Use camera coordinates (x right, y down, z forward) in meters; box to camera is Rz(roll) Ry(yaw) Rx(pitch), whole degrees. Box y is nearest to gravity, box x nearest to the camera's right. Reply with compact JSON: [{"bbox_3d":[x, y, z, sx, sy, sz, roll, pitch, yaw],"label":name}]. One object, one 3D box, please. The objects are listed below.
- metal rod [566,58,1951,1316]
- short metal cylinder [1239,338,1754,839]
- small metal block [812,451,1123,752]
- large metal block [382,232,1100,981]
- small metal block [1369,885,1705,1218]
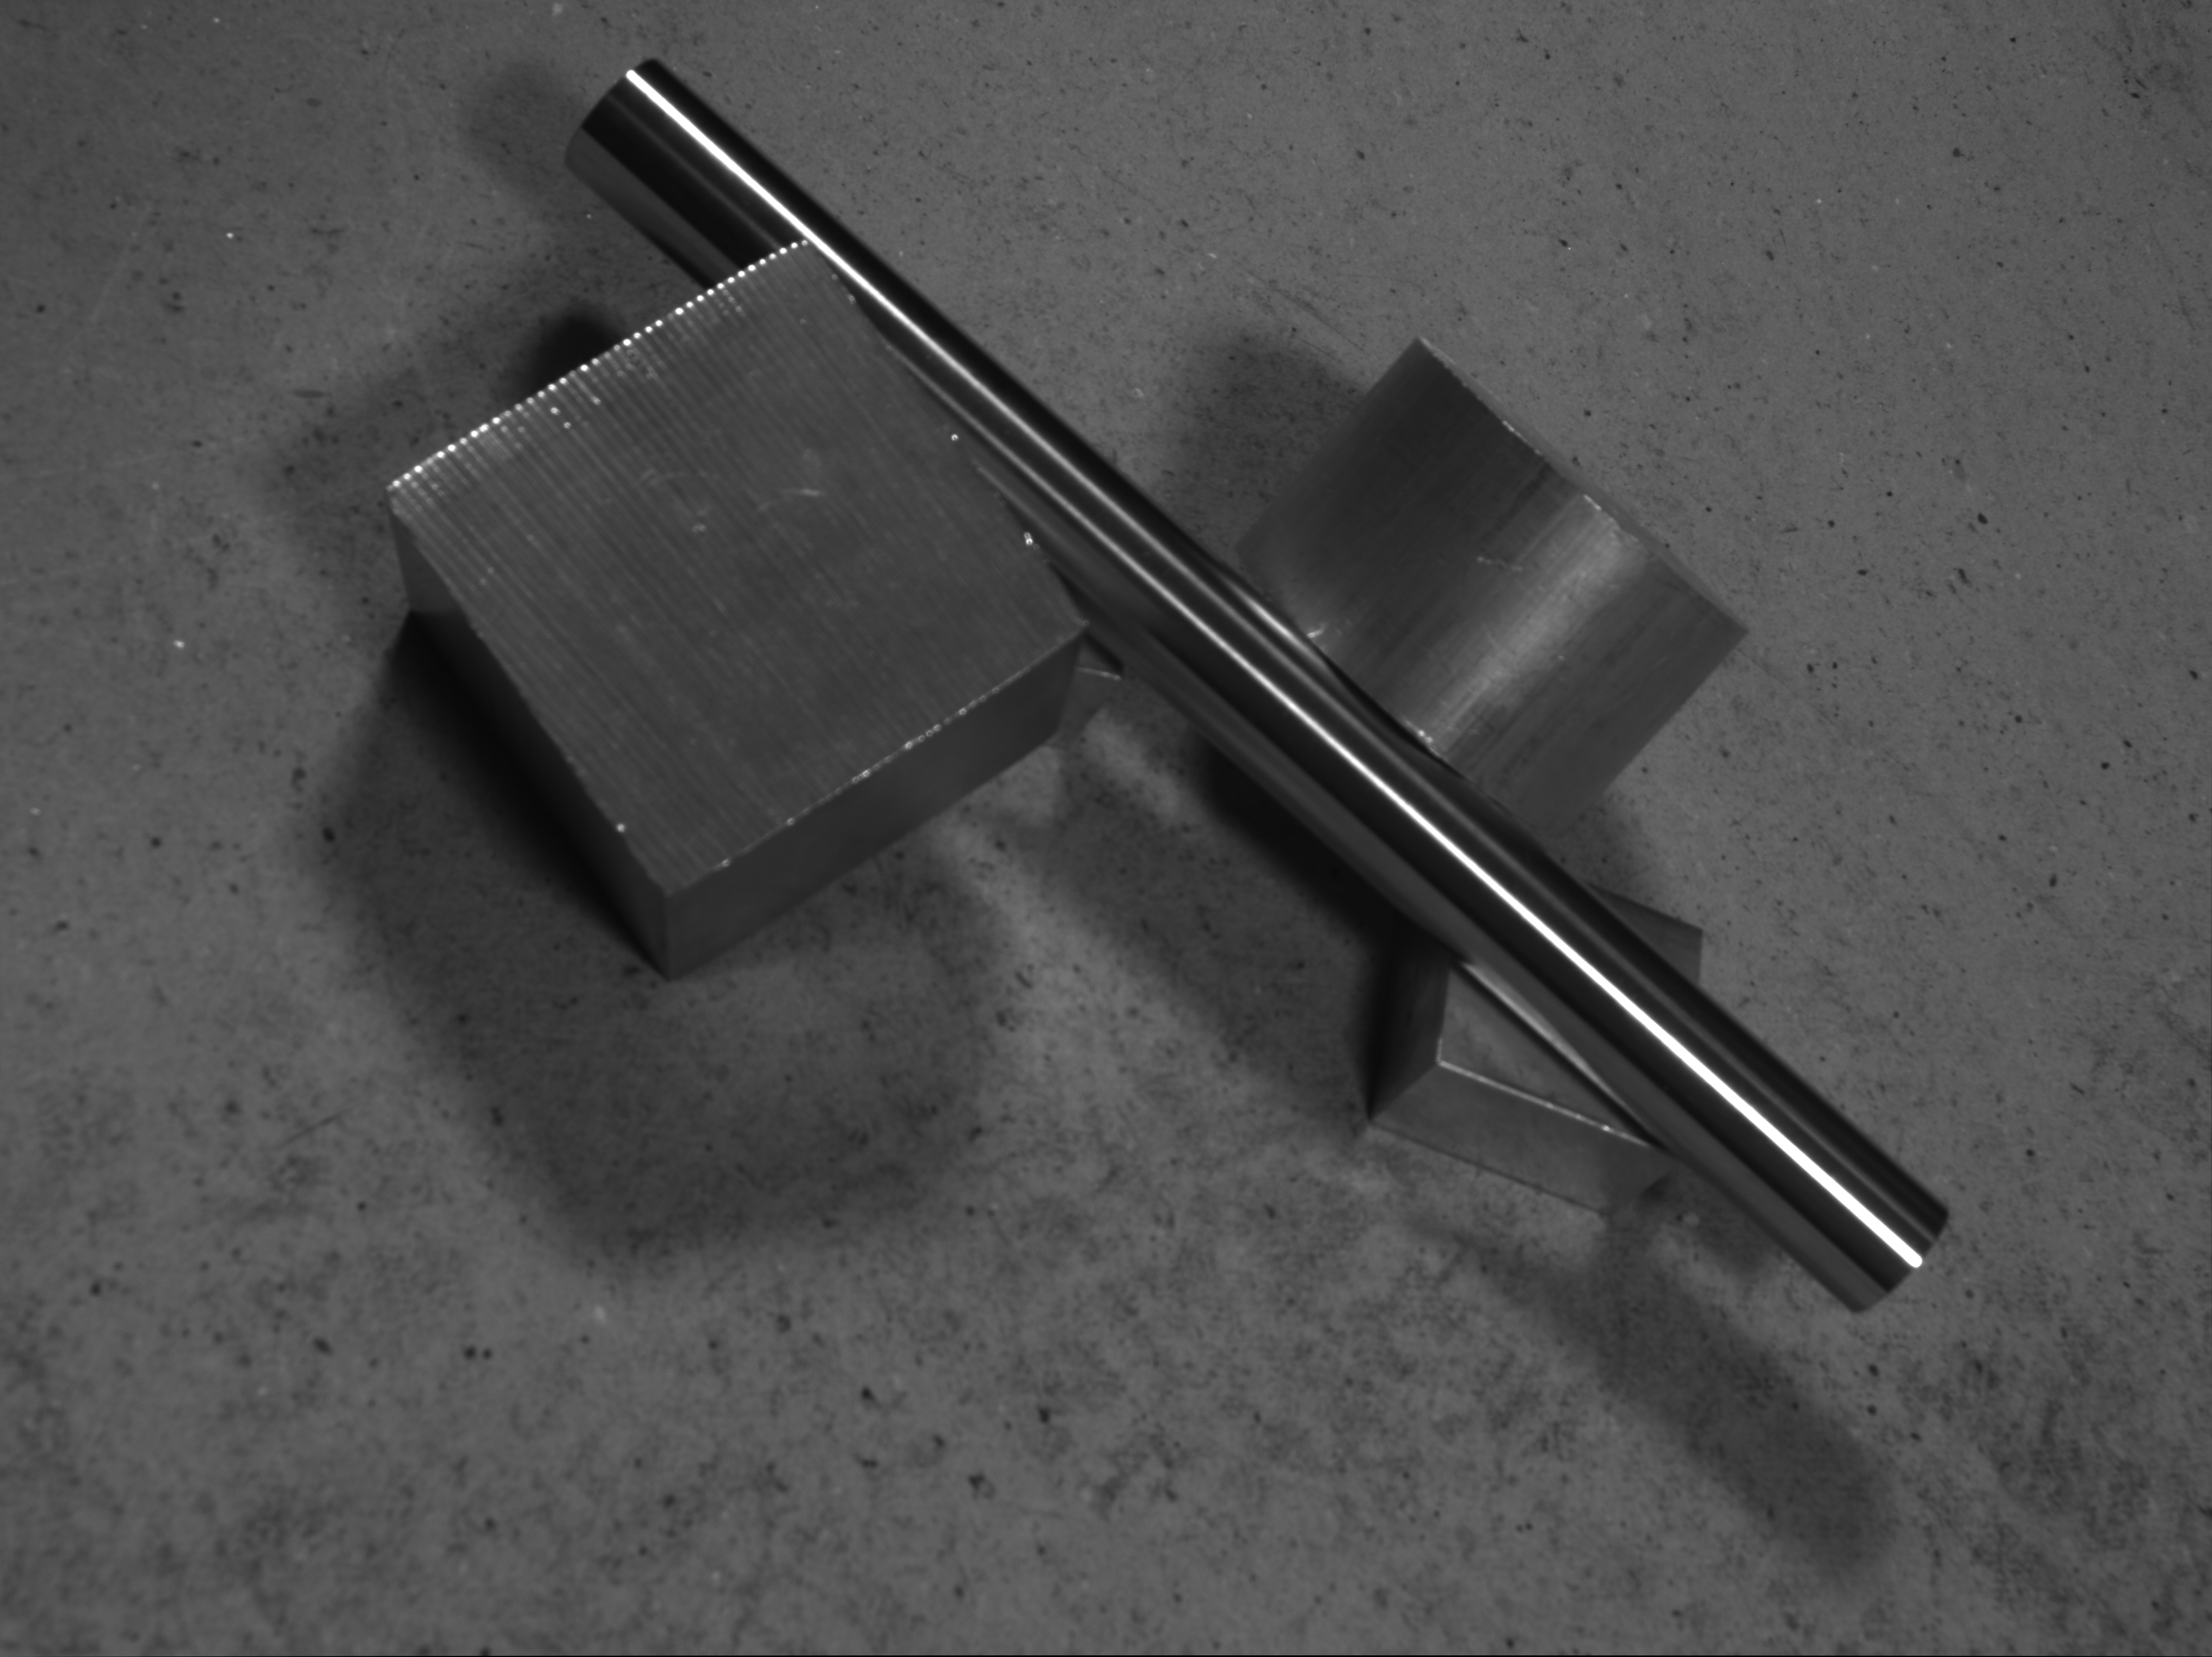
[{"bbox_3d":[0.026,-0.025,0.637,0.300,0.025,0.025,42,51,0],"label":"metal rod"},{"bbox_3d":[0.071,-0.044,0.663,0.080,0.050,0.080,40,11,-9],"label":"short metal cylinder"},{"bbox_3d":[-0.026,-0.046,0.655,0.050,0.025,0.050,12,57,-22],"label":"small metal block"},{"bbox_3d":[-0.059,-0.035,0.593,0.080,0.050,0.080,-33,80,-14],"label":"large metal block"},{"bbox_3d":[0.078,0.035,0.661,0.050,0.025,0.050,22,53,-15],"label":"small metal block"}]
